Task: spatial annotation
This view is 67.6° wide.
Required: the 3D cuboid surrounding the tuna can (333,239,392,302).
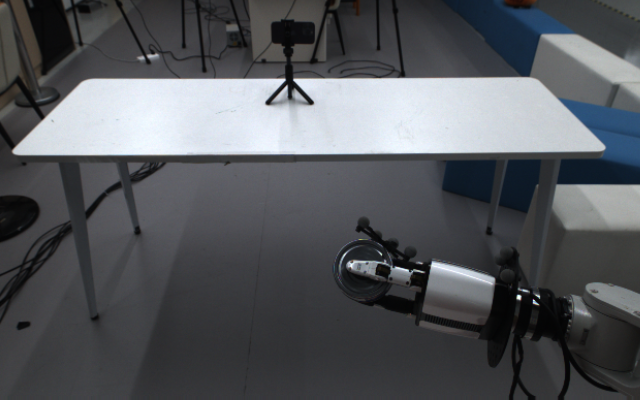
[{"bbox_3d":[0.066,0.105,0.678,0.085,0.034,0.085,-4,69,10],"label":"tuna can"}]
